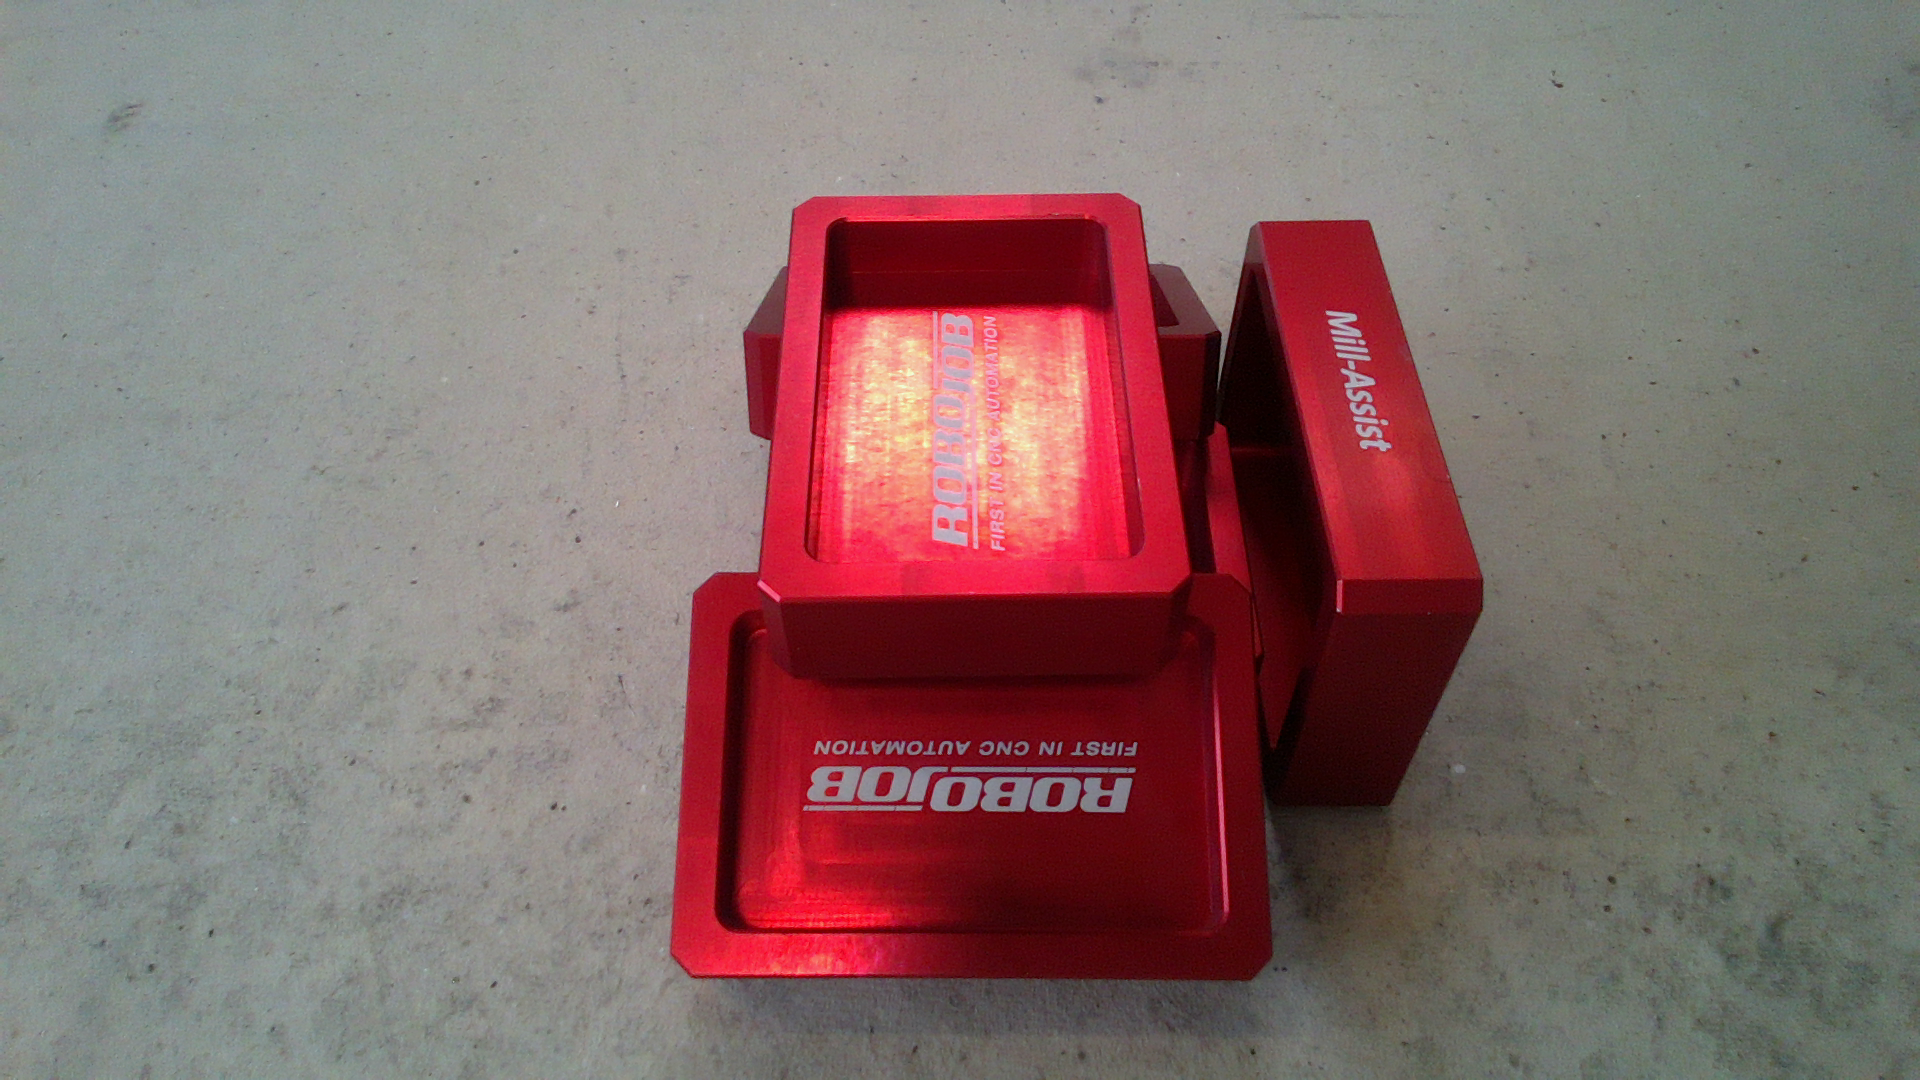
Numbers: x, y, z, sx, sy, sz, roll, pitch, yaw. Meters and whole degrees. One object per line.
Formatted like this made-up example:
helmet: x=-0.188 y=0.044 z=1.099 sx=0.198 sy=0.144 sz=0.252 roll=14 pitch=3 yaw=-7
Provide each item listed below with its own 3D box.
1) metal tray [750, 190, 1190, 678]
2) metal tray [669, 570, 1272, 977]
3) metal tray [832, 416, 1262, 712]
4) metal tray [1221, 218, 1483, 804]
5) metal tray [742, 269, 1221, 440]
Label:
metal tray: x=0.001 y=-0.031 z=0.329 sx=0.090 sy=0.030 sz=0.130 roll=-1 pitch=52 yaw=0
metal tray: x=0.002 y=0.054 z=0.320 sx=0.130 sy=0.030 sz=0.090 roll=0 pitch=75 yaw=0
metal tray: x=0.011 y=0.005 z=0.382 sx=0.130 sy=0.030 sz=0.090 roll=-1 pitch=51 yaw=0
metal tray: x=0.093 y=-0.009 z=0.357 sx=0.030 sy=0.090 sz=0.130 roll=-1 pitch=50 yaw=0
metal tray: x=0.006 y=-0.059 z=0.416 sx=0.130 sy=0.030 sz=0.090 roll=0 pitch=23 yaw=0
